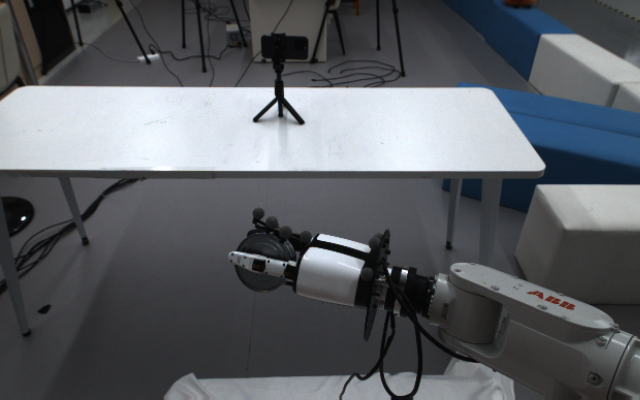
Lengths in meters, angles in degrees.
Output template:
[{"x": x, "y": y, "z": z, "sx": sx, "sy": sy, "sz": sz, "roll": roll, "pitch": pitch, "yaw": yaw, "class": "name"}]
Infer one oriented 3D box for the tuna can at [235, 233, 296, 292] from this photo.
[{"x": -0.076, "y": 0.089, "z": 0.703, "sx": 0.085, "sy": 0.085, "sz": 0.034, "roll": 13, "pitch": 2, "yaw": 16, "class": "tuna can"}]
